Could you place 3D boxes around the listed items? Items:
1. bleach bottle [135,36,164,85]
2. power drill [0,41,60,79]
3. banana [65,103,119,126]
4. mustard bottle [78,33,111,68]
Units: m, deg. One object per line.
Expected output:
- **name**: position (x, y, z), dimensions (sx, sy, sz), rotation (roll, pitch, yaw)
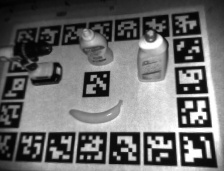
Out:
- **bleach bottle**: position (0.108, -0.072, 0.657), dimensions (0.102, 0.253, 0.068), rotation (7, 74, 15)
- **power drill**: position (-0.261, -0.085, 0.740), dimensions (0.183, 0.189, 0.057), rotation (-7, 70, 14)
- **banana**: position (-0.070, 0.102, 0.742), dimensions (0.196, 0.039, 0.074), rotation (-6, 73, 13)
- **mustard bottle**: position (-0.067, -0.121, 0.744), dimensions (0.096, 0.193, 0.058), rotation (-8, 70, 9)
